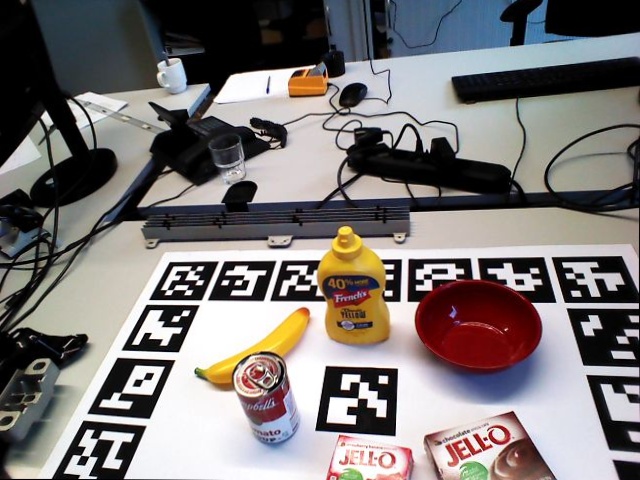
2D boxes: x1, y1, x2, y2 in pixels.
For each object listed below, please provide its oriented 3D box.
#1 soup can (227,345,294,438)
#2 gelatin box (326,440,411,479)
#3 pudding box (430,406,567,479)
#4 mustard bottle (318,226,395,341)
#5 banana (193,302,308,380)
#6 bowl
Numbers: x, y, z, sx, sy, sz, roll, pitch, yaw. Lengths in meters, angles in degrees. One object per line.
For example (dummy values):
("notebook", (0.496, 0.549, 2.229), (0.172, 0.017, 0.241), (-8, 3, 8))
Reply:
("soup can", (-0.072, 0.187, 0.641), (0.068, 0.102, 0.067), (-6, 36, 4))
("gelatin box", (0.052, 0.268, 0.575), (0.090, 0.030, 0.073), (2, 42, 19))
("pudding box", (0.189, 0.243, 0.562), (0.114, 0.039, 0.090), (-17, 43, -6))
("mustard bottle", (0.048, 0.053, 0.705), (0.097, 0.192, 0.058), (-1, 35, 13))
("banana", (-0.088, 0.151, 0.761), (0.196, 0.039, 0.074), (-32, 31, -24))
("bowl", (0.225, 0.122, 0.701), (0.162, 0.055, 0.161), (-9, 36, 6))
